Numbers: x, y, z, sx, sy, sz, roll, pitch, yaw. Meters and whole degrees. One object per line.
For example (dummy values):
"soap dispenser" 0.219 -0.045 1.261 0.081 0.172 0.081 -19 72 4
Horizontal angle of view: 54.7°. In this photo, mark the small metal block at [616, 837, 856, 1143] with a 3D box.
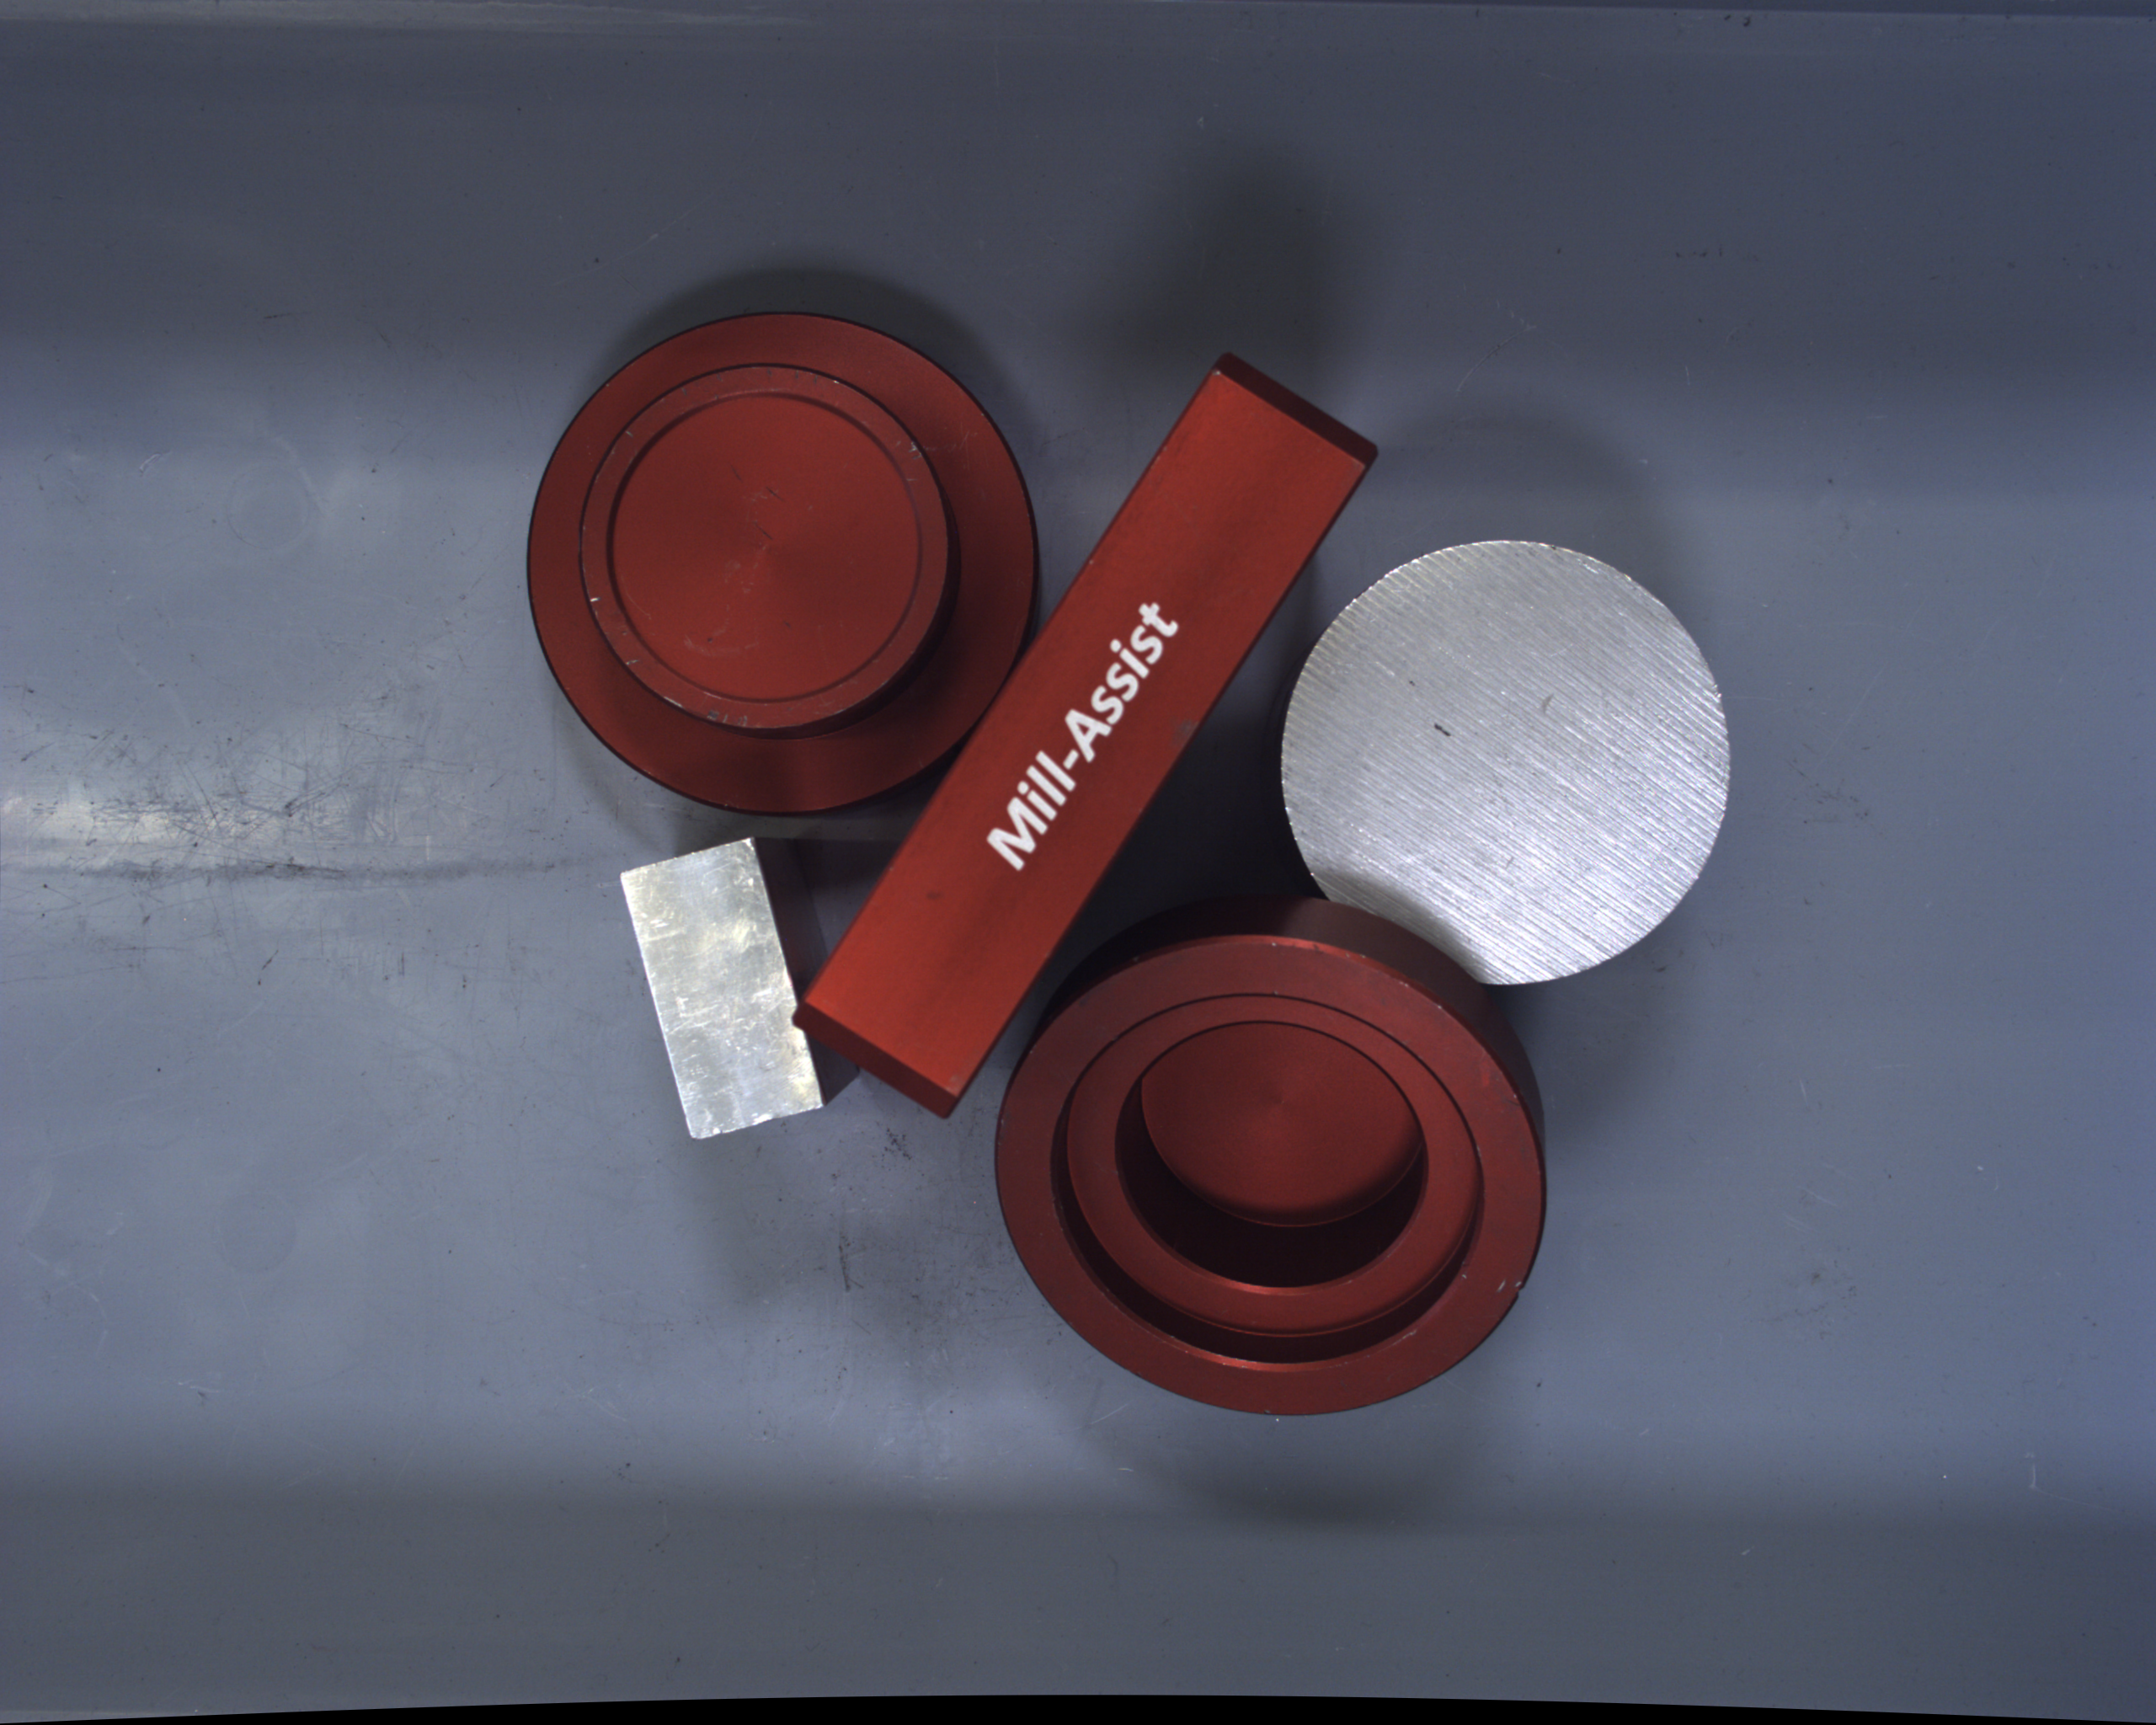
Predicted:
"small metal block" -0.063 0.023 0.396 0.025 0.050 0.050 -15 90 0

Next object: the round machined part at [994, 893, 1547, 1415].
"round machined part" 0.037 0.050 0.390 0.098 0.042 0.097 4 112 9

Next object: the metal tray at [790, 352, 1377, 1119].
"metal tray" 0.001 -0.021 0.377 0.030 0.090 0.130 33 90 0

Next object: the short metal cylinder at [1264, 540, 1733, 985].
"short metal cylinder" 0.077 -0.018 0.397 0.081 0.050 0.079 0 90 0

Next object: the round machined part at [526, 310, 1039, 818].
"round machined part" -0.057 -0.057 0.400 0.099 0.042 0.097 0 90 0
